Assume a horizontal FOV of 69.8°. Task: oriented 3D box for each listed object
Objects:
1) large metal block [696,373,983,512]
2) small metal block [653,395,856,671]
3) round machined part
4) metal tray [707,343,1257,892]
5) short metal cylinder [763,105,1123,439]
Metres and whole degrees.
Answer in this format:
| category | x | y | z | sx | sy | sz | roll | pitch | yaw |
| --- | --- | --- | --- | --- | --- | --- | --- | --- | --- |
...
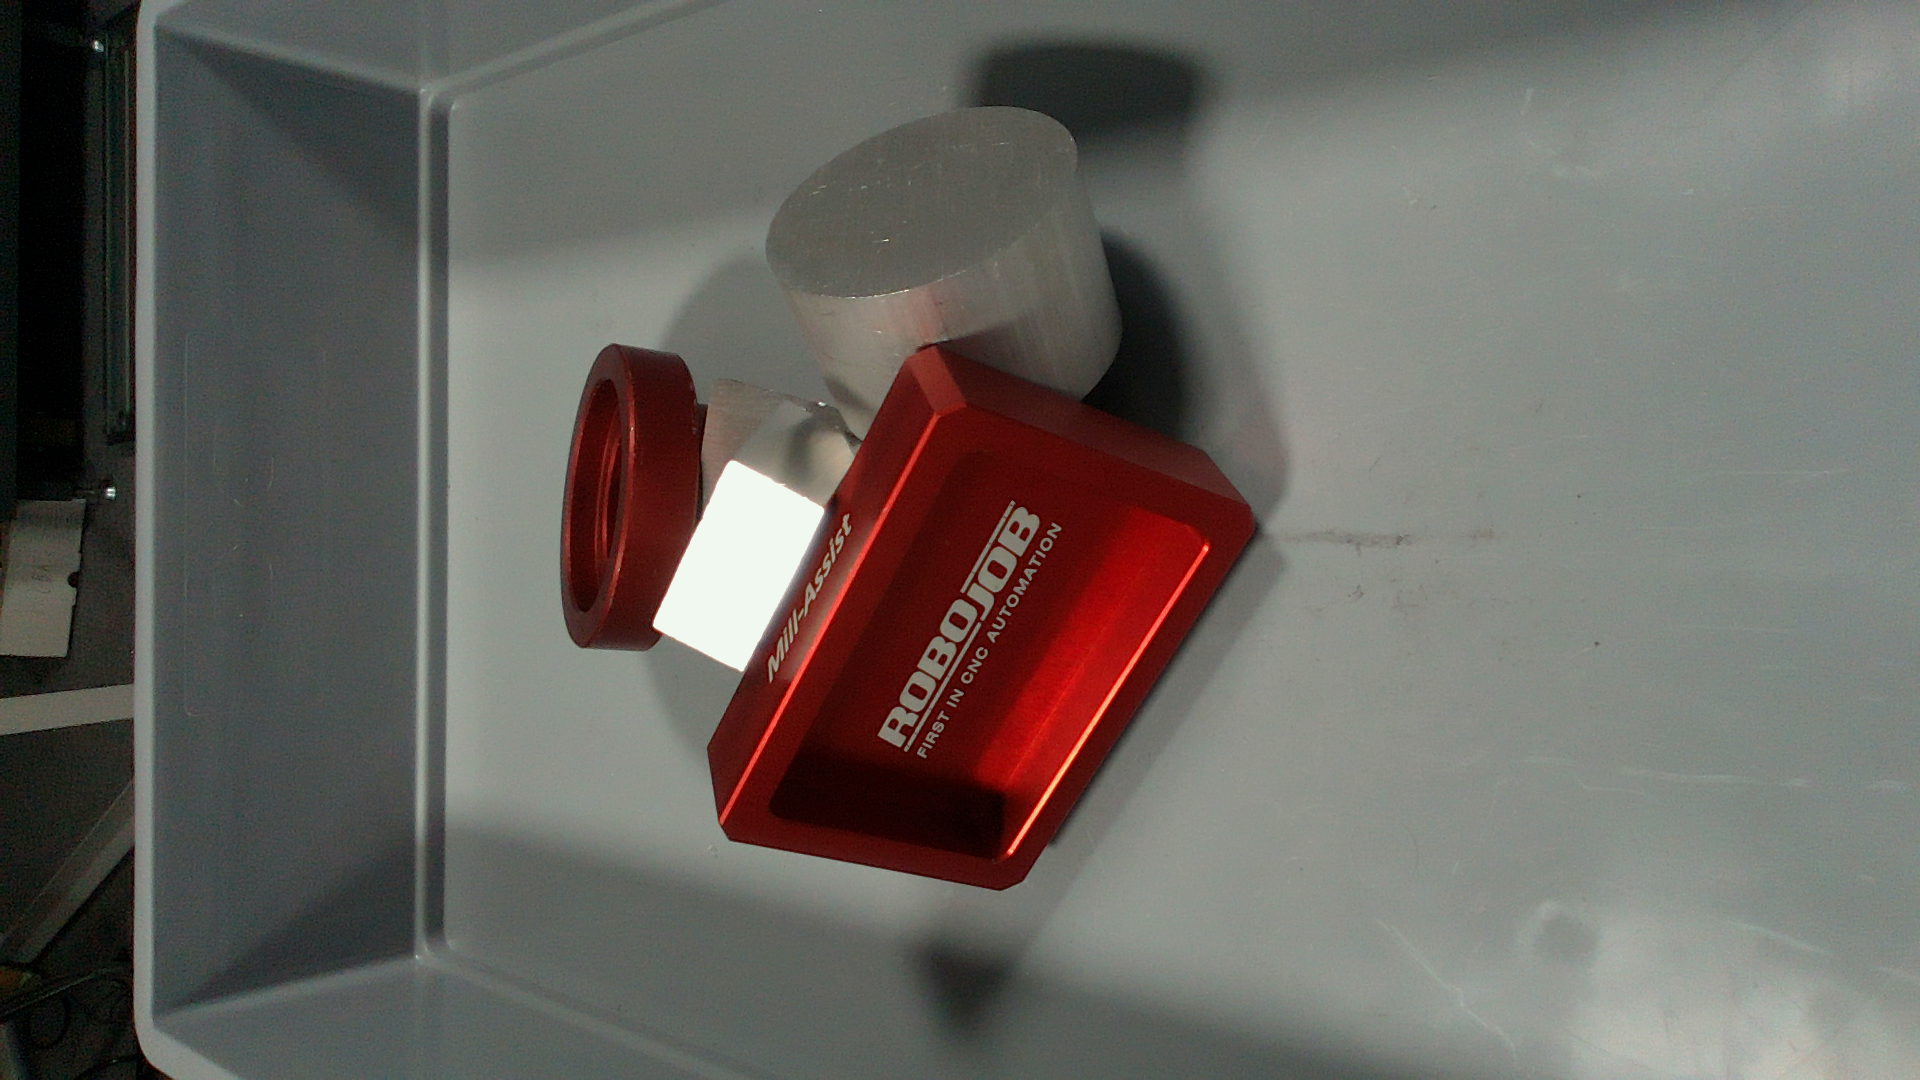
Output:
| category | x | y | z | sx | sy | sz | roll | pitch | yaw |
| --- | --- | --- | --- | --- | --- | --- | --- | --- | --- |
| large metal block | -0.034 | 0.000 | 0.406 | 0.080 | 0.050 | 0.080 | 19 | 102 | 39 |
| small metal block | -0.050 | -0.003 | 0.351 | 0.025 | 0.050 | 0.050 | 28 | 113 | -4 |
| round machined part | -0.099 | -0.012 | 0.450 | 0.098 | 0.042 | 0.098 | -20 | 67 | 61 |
| metal tray | 0.003 | 0.026 | 0.347 | 0.130 | 0.090 | 0.030 | -61 | 29 | 22 |
| short metal cylinder | -0.003 | -0.067 | 0.351 | 0.080 | 0.080 | 0.050 | 21 | 147 | 38 |
